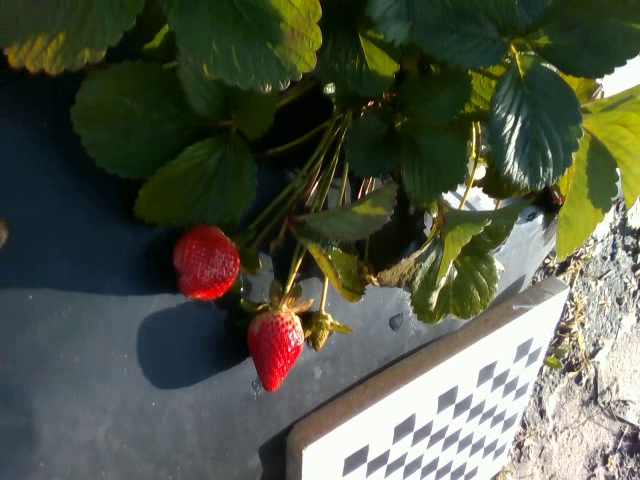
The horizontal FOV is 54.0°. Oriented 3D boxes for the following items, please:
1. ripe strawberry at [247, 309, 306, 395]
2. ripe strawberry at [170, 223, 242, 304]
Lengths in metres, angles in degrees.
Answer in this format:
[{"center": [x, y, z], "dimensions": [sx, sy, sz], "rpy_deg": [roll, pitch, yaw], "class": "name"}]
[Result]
[{"center": [-0.026, 0.066, 0.377], "dimensions": [0.038, 0.053, 0.043], "rpy_deg": [-12, -27, 32], "class": "ripe strawberry"}, {"center": [-0.067, 0.014, 0.355], "dimensions": [0.039, 0.048, 0.054], "rpy_deg": [24, 24, 20], "class": "ripe strawberry"}]
